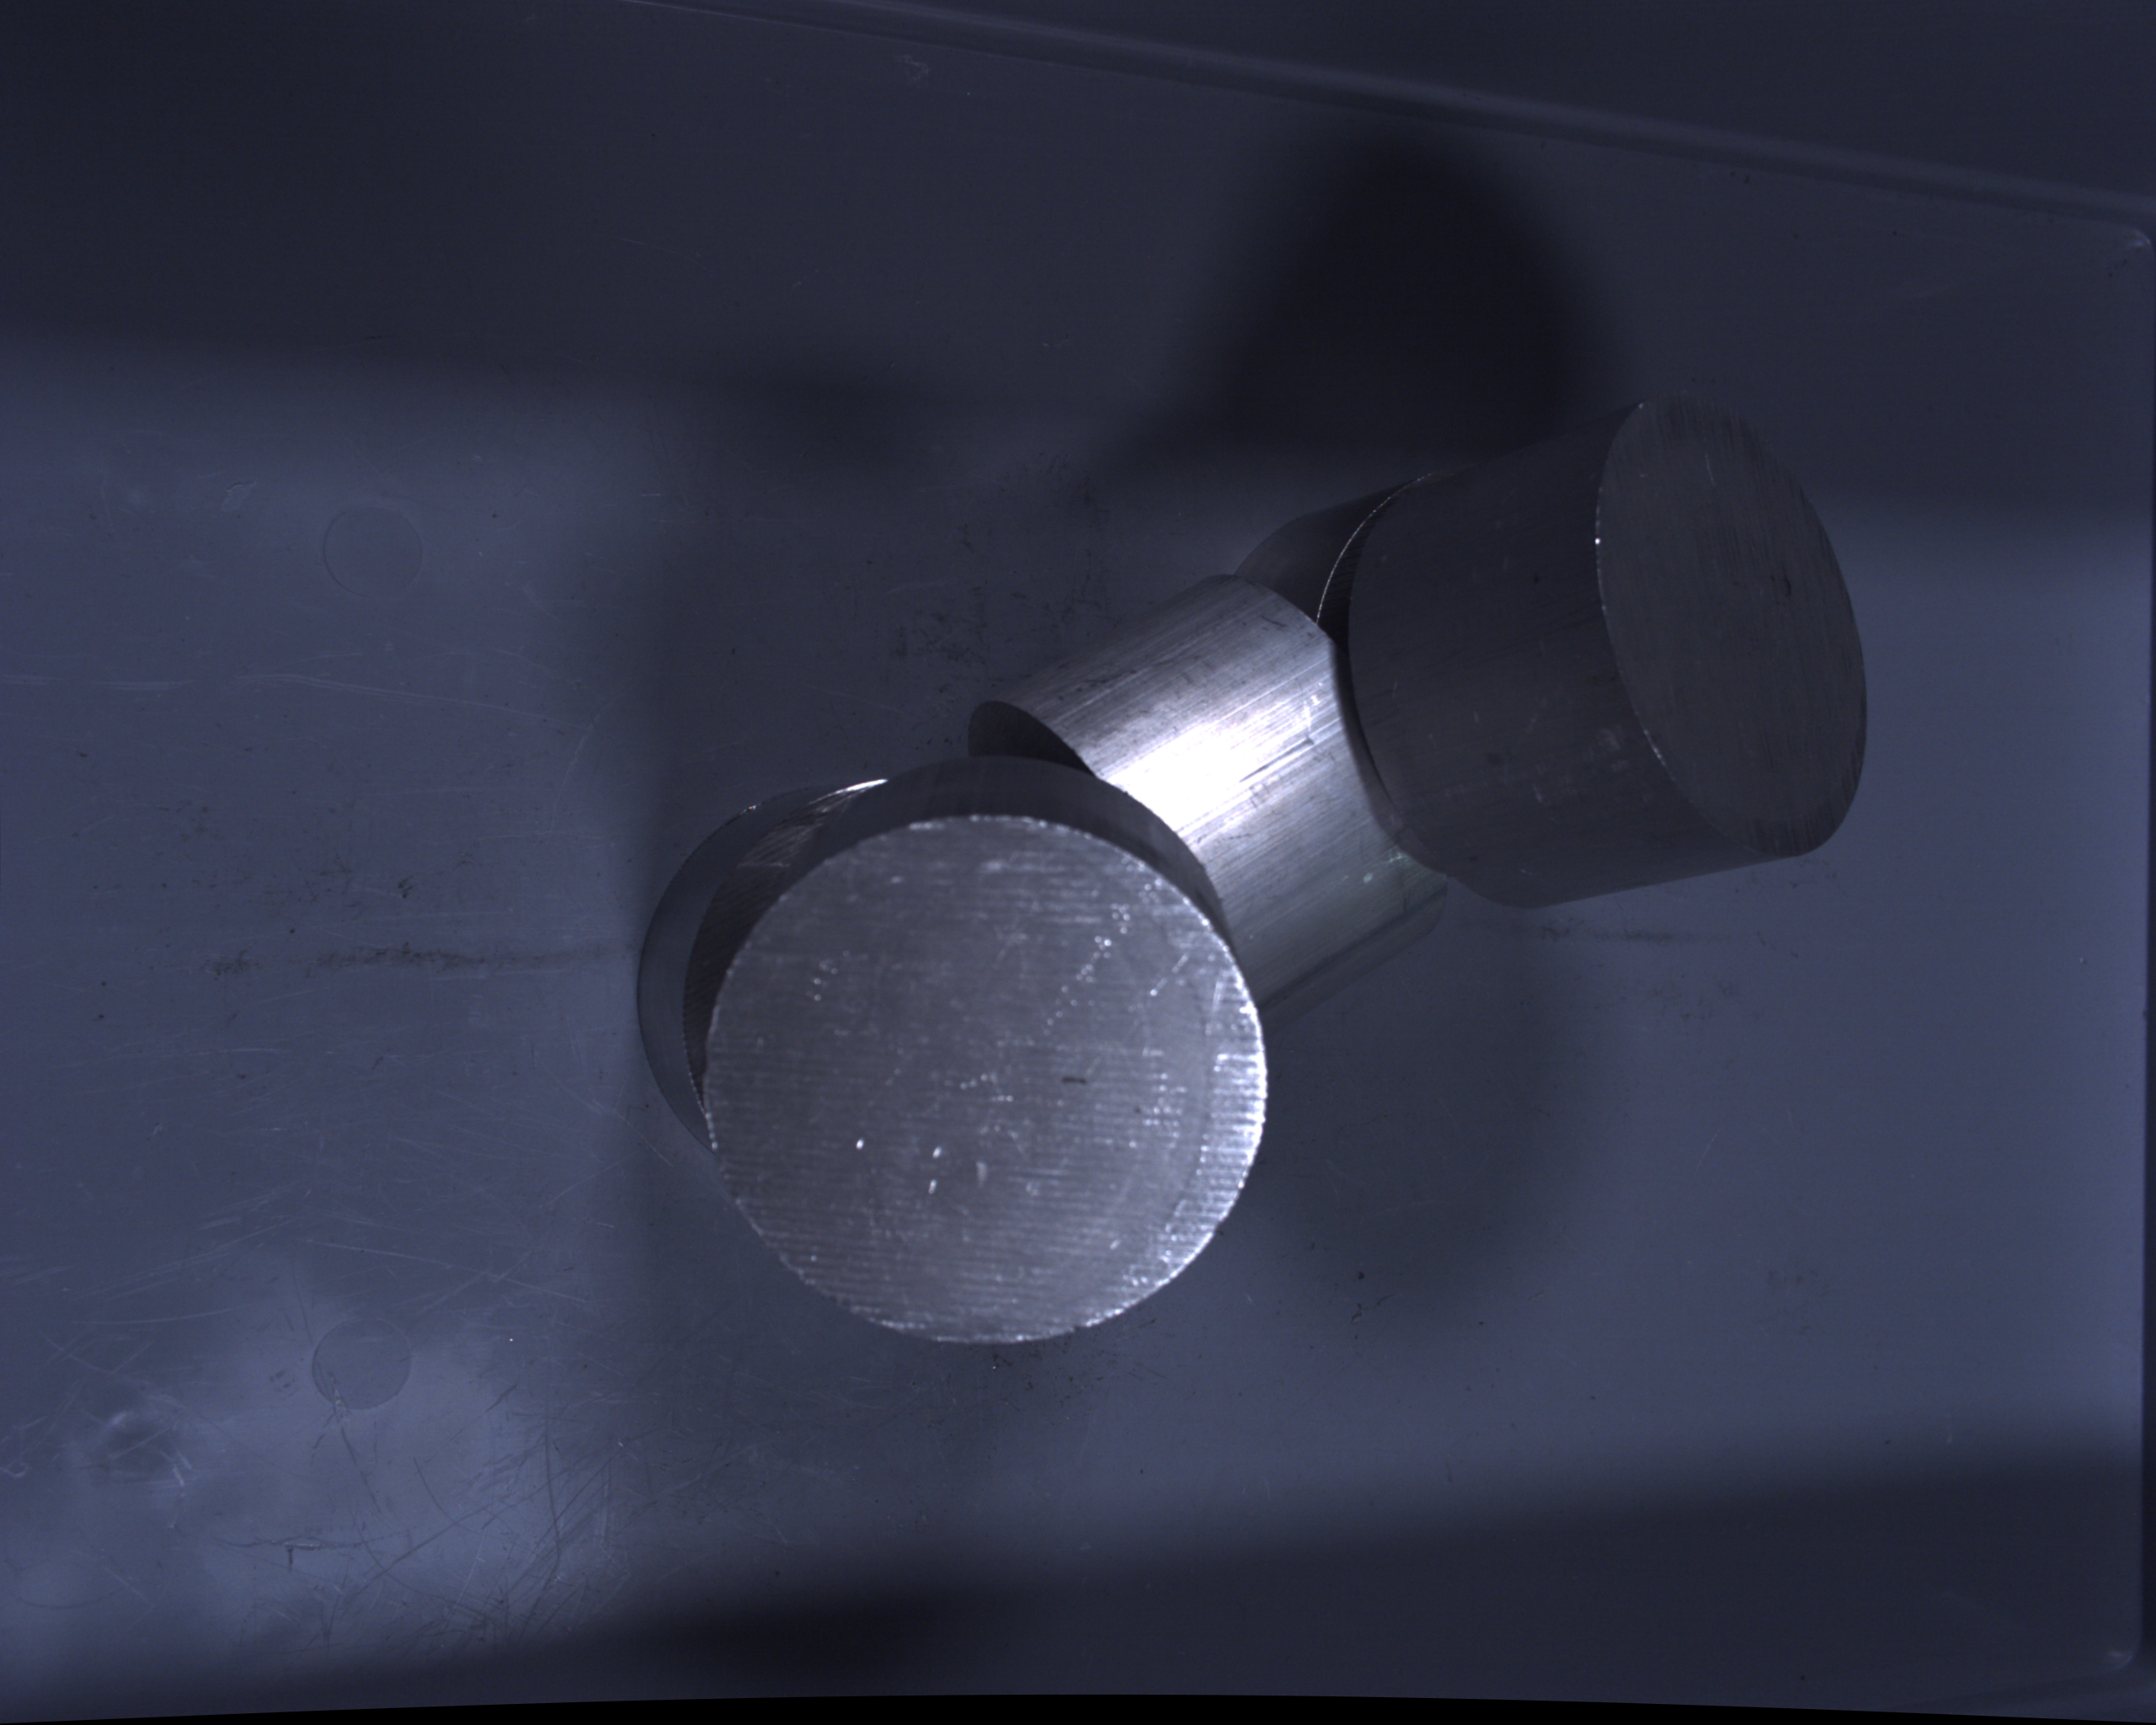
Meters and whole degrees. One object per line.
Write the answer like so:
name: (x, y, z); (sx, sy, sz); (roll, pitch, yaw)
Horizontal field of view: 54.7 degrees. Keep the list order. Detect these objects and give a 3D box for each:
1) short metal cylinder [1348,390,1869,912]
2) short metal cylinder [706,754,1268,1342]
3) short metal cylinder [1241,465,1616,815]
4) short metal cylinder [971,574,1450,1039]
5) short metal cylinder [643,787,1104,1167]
short metal cylinder: (0.093, -0.035, 0.362); (0.081, 0.050, 0.080); (13, 70, -39)
short metal cylinder: (-0.013, 0.027, 0.323); (0.081, 0.050, 0.079); (0, 102, 0)
short metal cylinder: (0.072, -0.037, 0.423); (0.081, 0.050, 0.079); (0, 90, -21)
short metal cylinder: (0.023, -0.007, 0.389); (0.050, 0.080, 0.080); (-31, 101, -17)
short metal cylinder: (-0.036, 0.026, 0.383); (0.081, 0.050, 0.079); (0, 90, -21)
